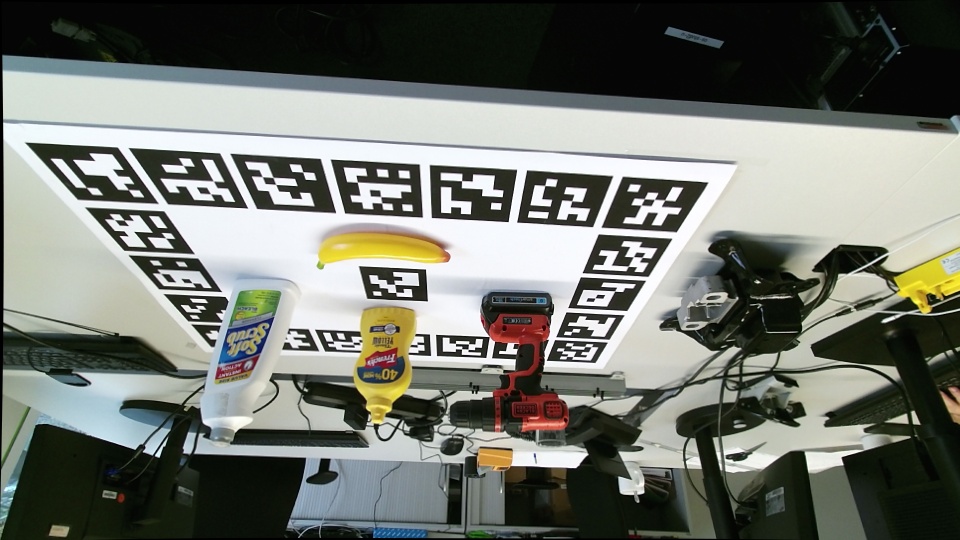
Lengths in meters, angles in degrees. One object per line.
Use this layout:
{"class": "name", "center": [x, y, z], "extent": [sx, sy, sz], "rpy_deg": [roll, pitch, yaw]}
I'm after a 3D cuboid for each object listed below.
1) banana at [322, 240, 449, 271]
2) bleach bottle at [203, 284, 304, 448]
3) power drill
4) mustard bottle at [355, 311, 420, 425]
{"class": "banana", "center": [-0.141, -0.012, 0.756], "extent": [0.198, 0.038, 0.074], "rpy_deg": [-2, 143, 0]}
{"class": "bleach bottle", "center": [-0.346, 0.143, 0.816], "extent": [0.103, 0.249, 0.068], "rpy_deg": [8, 145, -9]}
{"class": "power drill", "center": [0.034, 0.170, 0.845], "extent": [0.185, 0.186, 0.057], "rpy_deg": [-4, 145, 0]}
{"class": "mustard bottle", "center": [-0.157, 0.163, 0.894], "extent": [0.096, 0.190, 0.058], "rpy_deg": [-1, 145, 6]}
